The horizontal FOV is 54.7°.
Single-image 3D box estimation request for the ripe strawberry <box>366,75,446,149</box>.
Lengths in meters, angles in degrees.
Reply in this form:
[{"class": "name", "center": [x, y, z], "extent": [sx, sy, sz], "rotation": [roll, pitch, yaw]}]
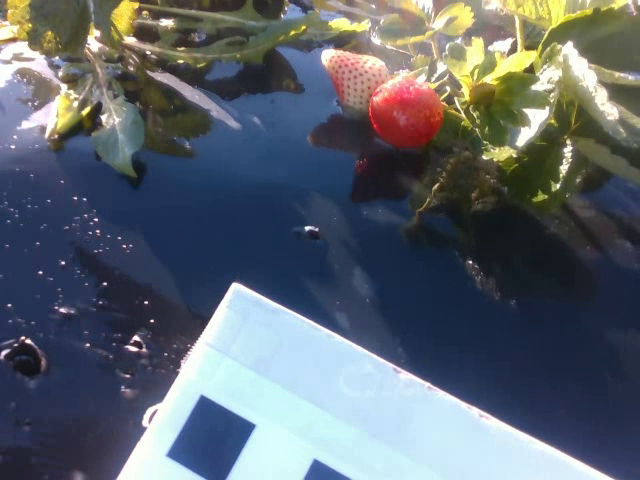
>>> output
[{"class": "ripe strawberry", "center": [0.037, -0.064, 0.289], "extent": [0.040, 0.038, 0.055], "rotation": [1, -13, 32]}]
